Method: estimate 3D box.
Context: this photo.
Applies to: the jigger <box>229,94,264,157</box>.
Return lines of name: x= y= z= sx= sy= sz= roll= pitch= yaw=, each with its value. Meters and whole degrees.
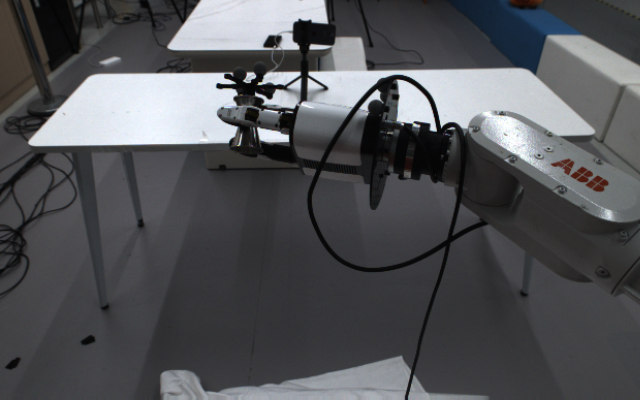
jigger: x=-0.094 y=-0.098 z=0.631 sx=0.043 sy=0.071 sz=0.043 roll=2 pitch=-6 yaw=0
